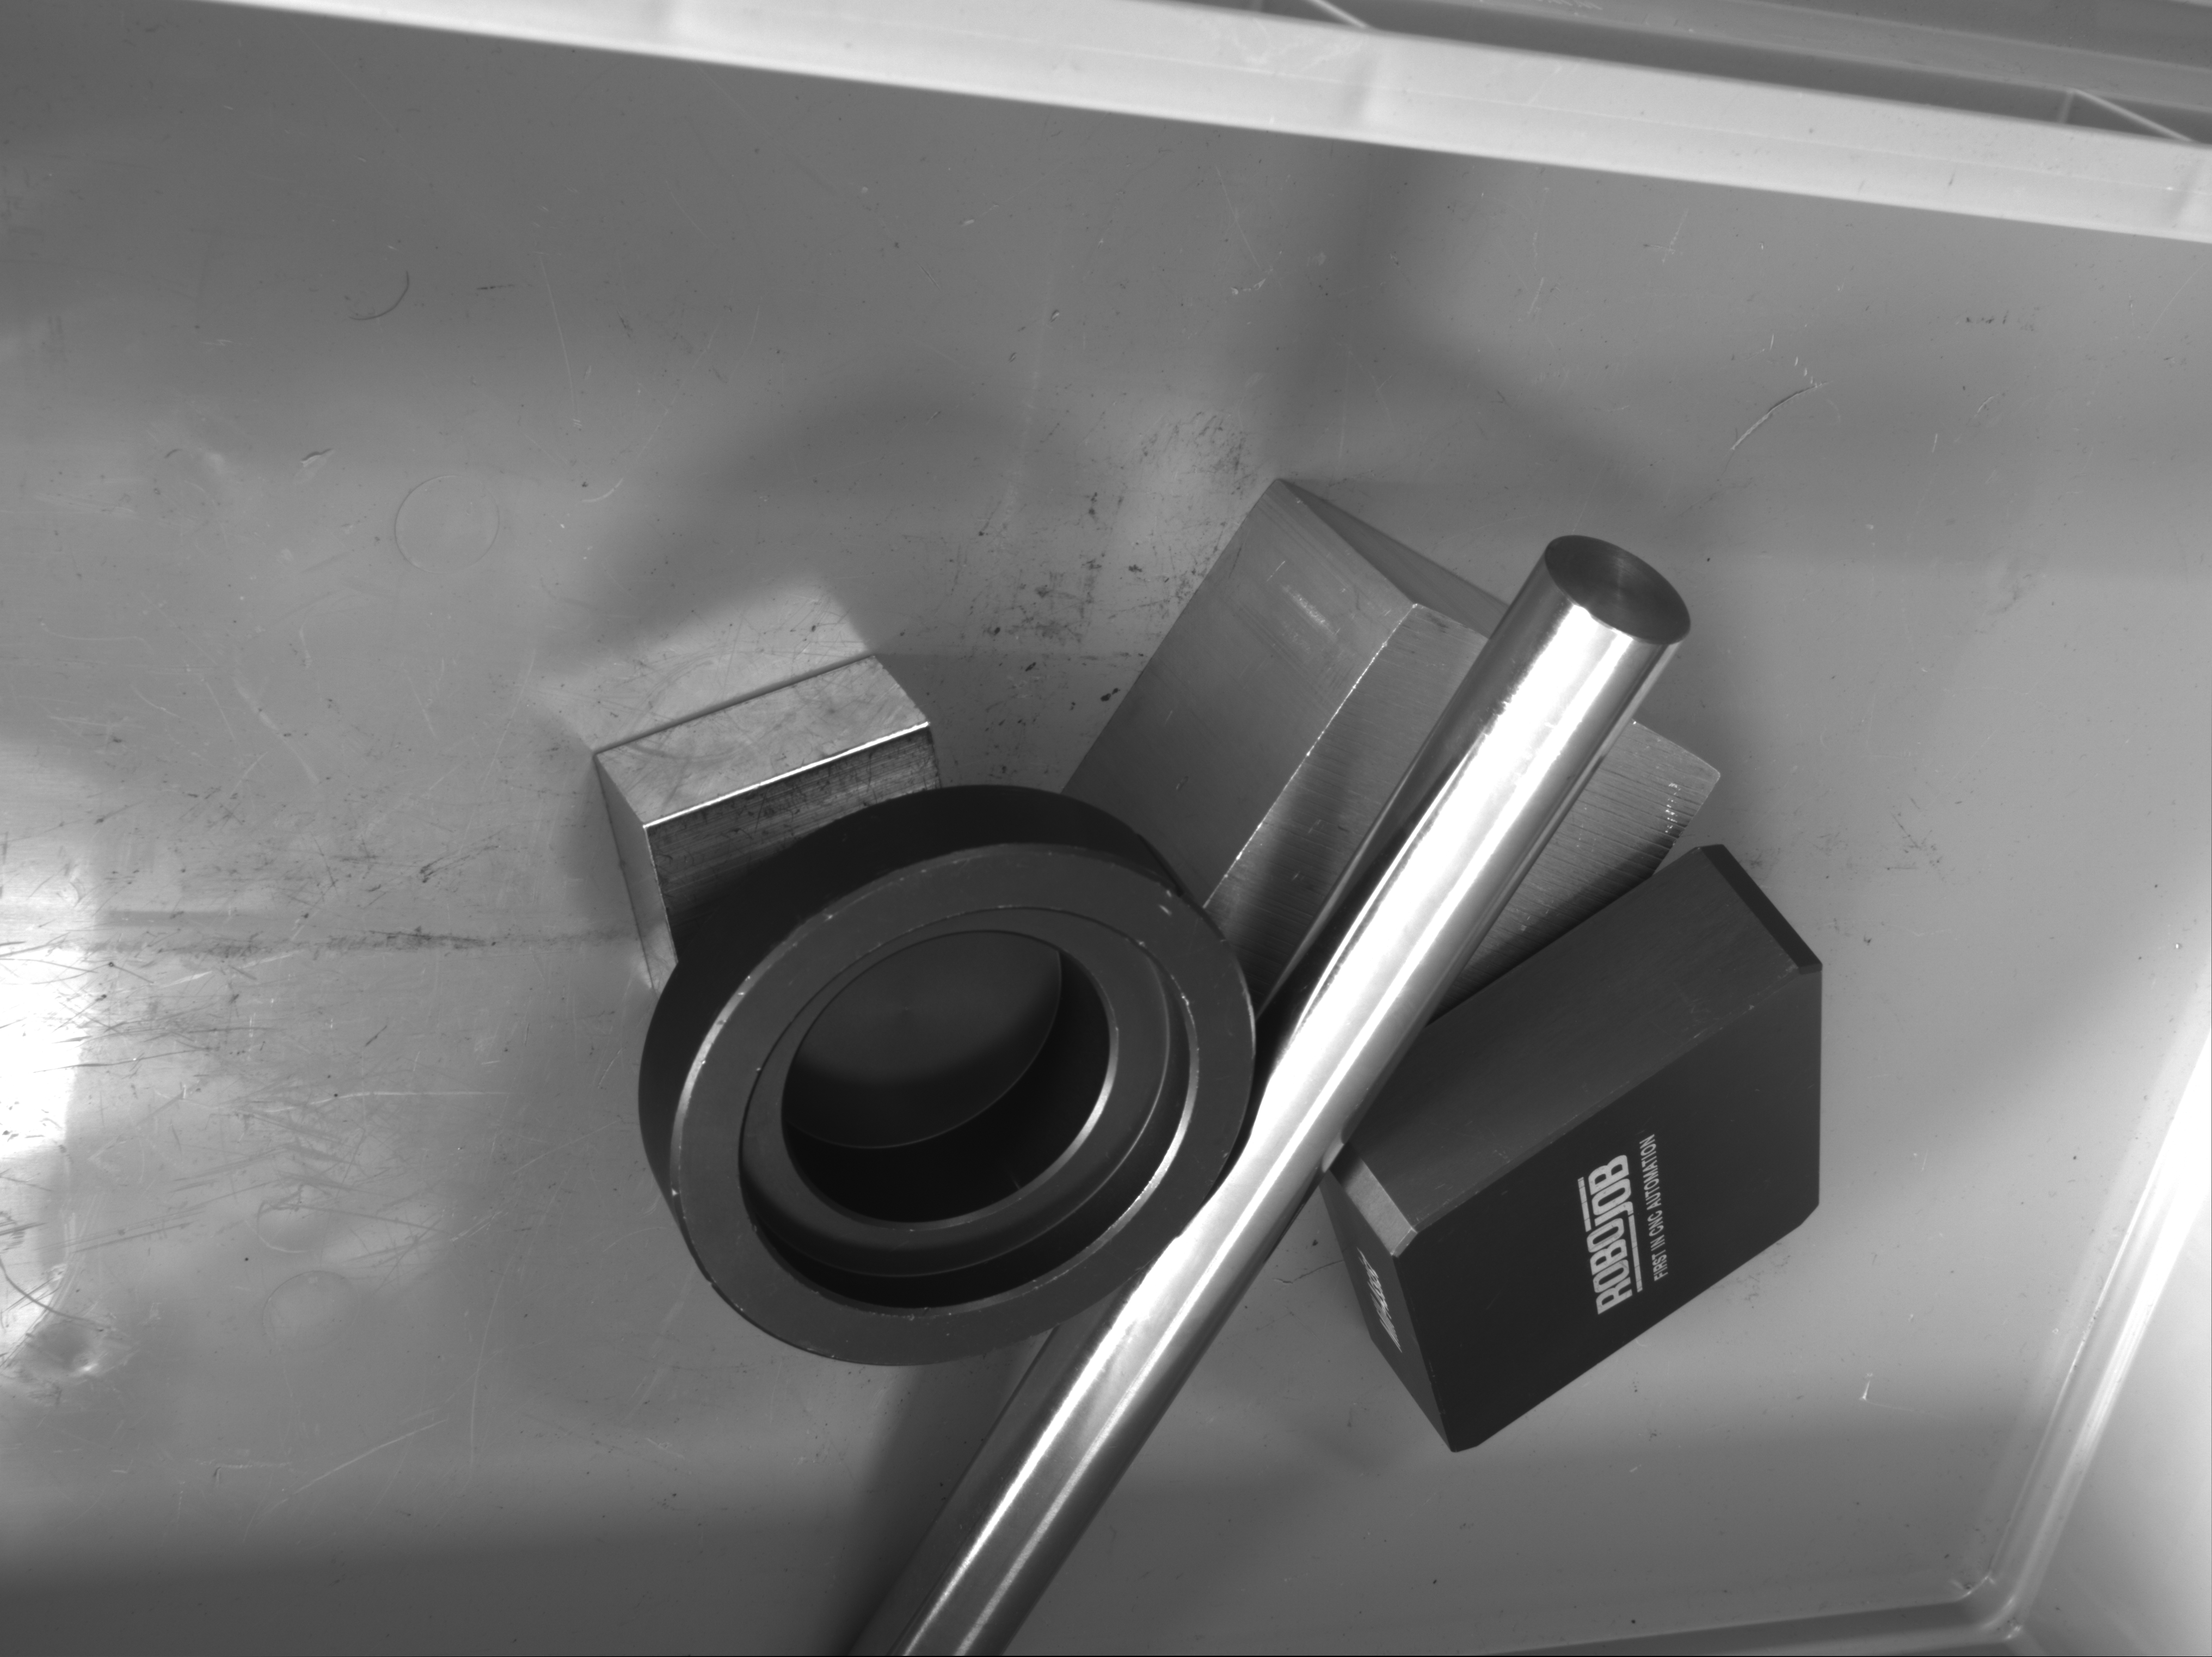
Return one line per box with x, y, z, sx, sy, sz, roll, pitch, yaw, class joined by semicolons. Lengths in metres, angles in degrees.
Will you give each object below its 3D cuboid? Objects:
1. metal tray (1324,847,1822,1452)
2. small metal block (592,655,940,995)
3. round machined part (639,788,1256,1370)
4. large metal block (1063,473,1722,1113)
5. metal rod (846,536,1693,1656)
0.088;0.063;0.687;0.090;0.030;0.130;-33;153;-6;metal tray
-0.053;0.006;0.612;0.050;0.025;0.050;-20;126;-16;small metal block
-0.029;0.036;0.597;0.098;0.042;0.098;-12;123;-18;round machined part
0.046;-0.003;0.644;0.080;0.050;0.080;25;105;-37;large metal block
0.015;0.072;0.637;0.025;0.025;0.300;6;131;-31;metal rod
